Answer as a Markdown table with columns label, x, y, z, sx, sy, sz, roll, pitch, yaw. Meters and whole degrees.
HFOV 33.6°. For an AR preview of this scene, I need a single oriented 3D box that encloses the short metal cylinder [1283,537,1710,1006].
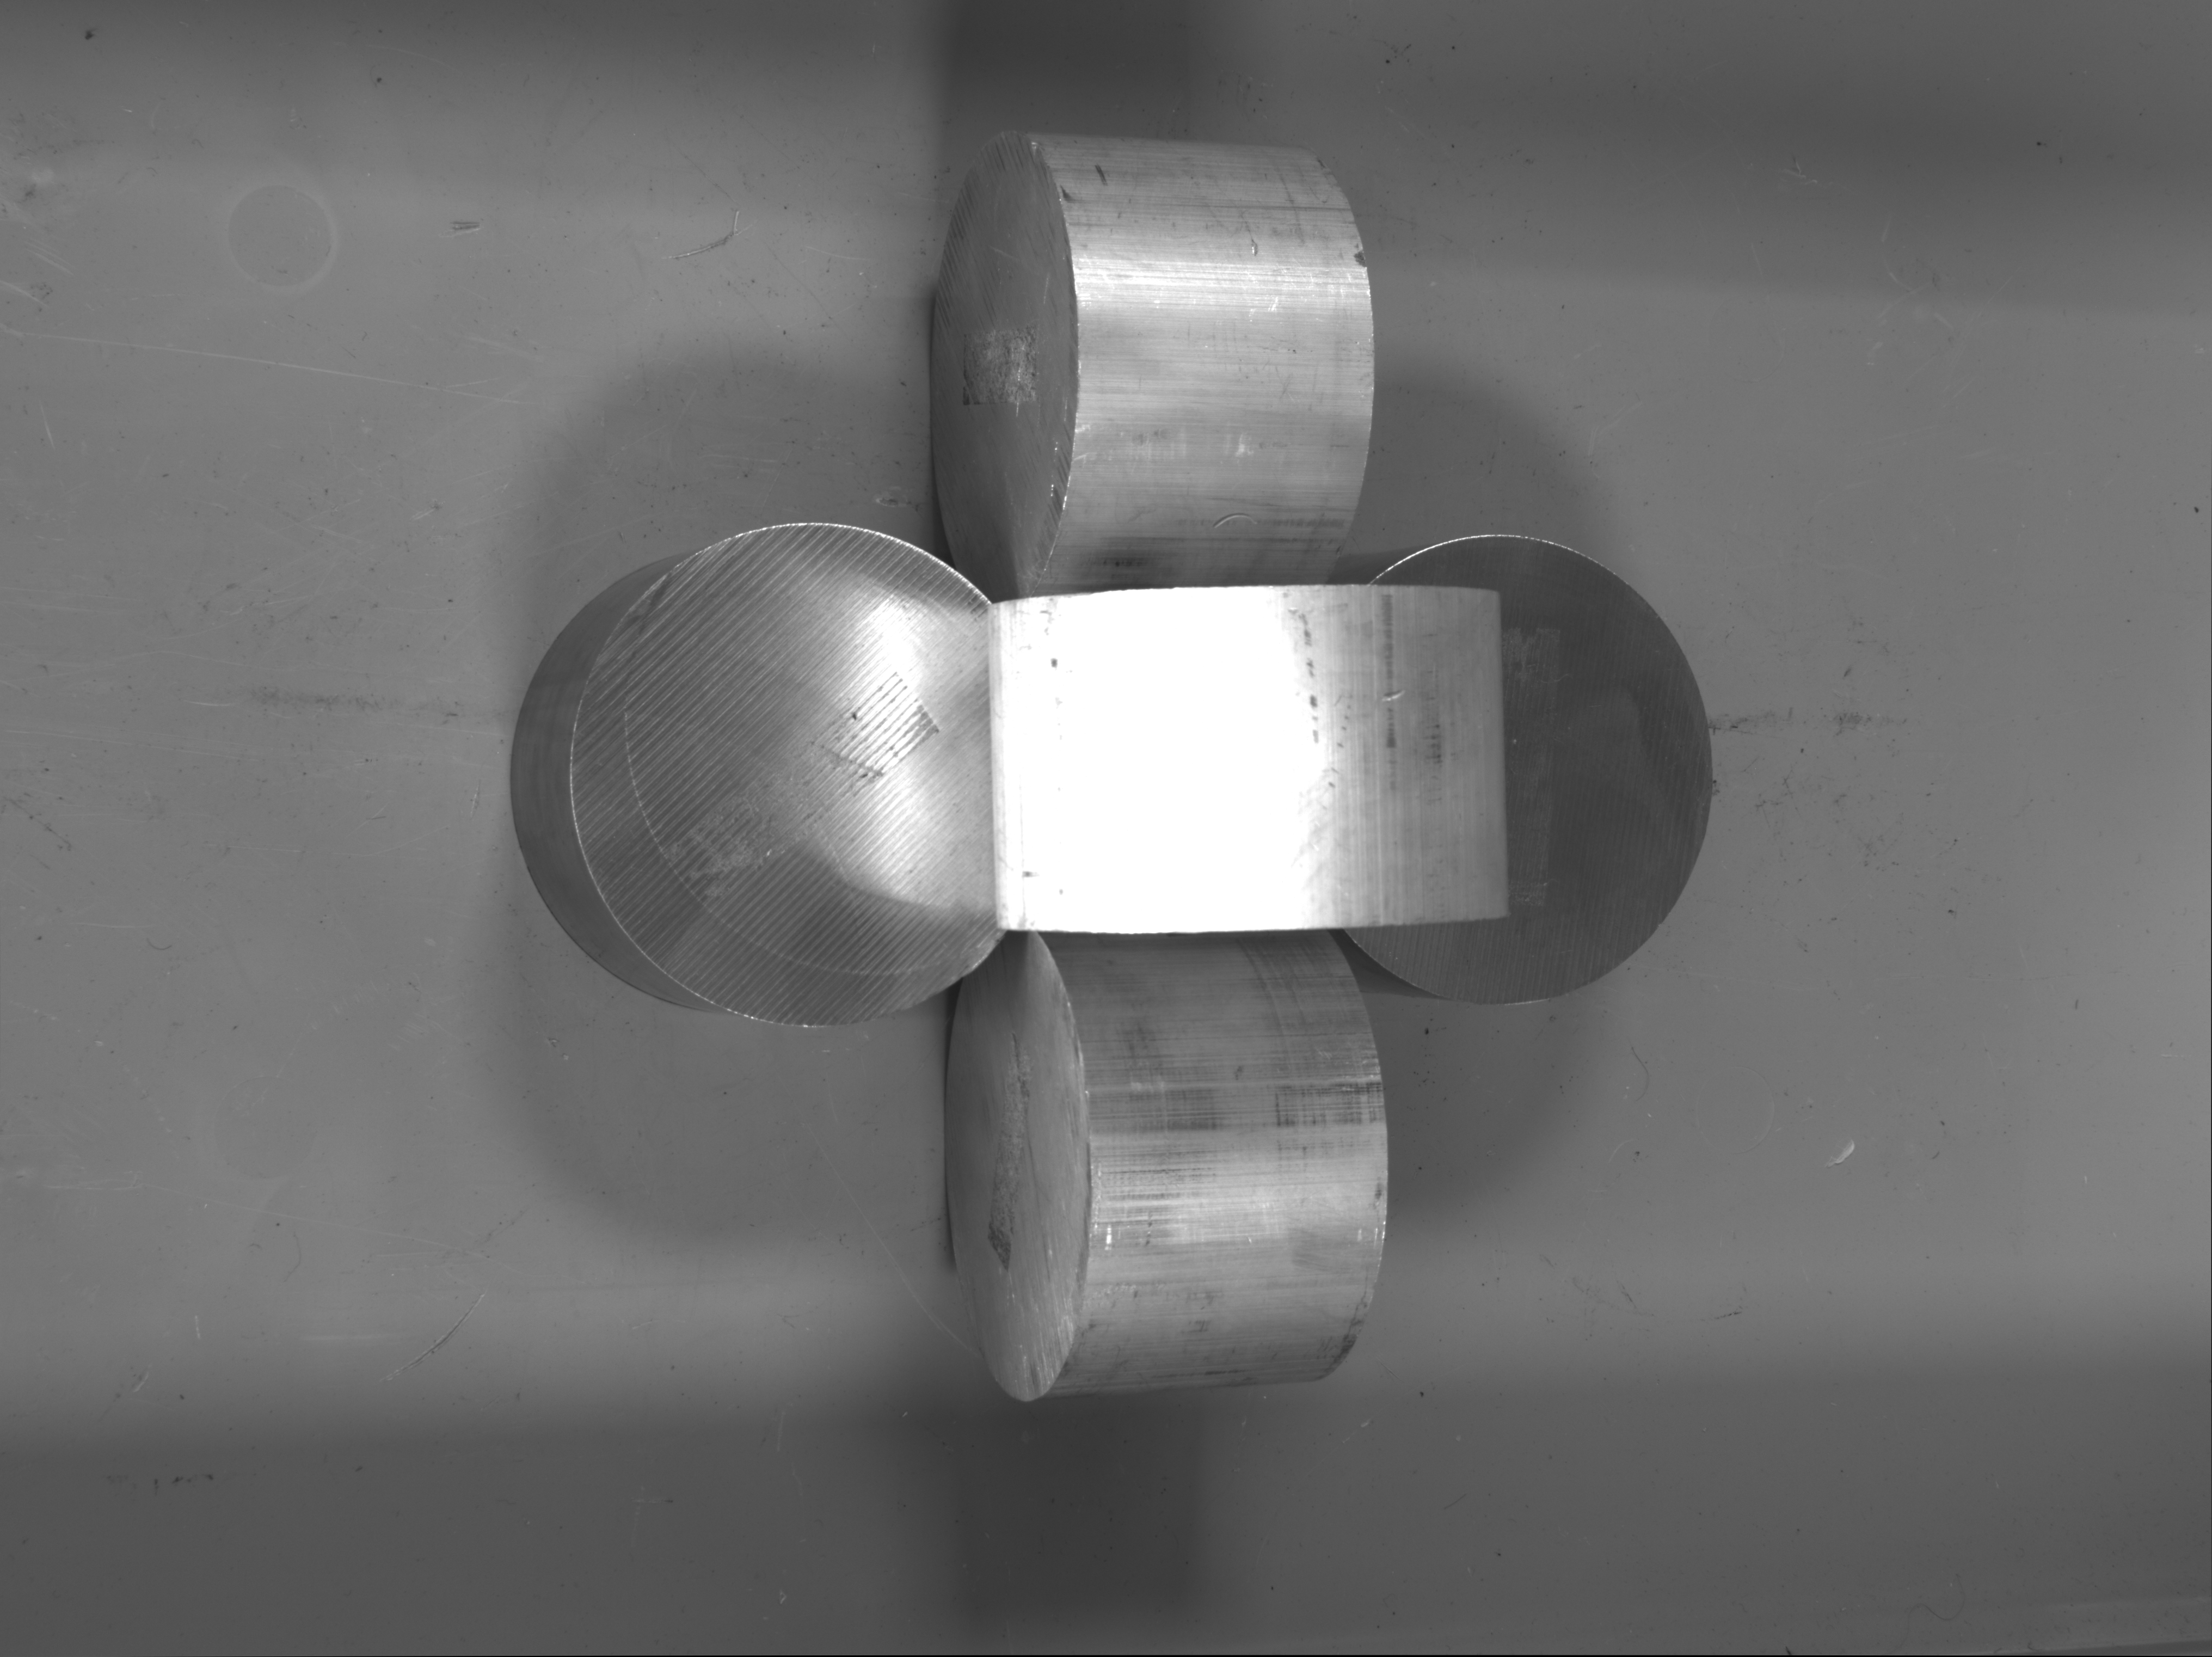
| label | x | y | z | sx | sy | sz | roll | pitch | yaw |
| --- | --- | --- | --- | --- | --- | --- | --- | --- | --- |
| short metal cylinder | 0.059 | -0.010 | 0.649 | 0.080 | 0.050 | 0.080 | 0 | 90 | -20 |

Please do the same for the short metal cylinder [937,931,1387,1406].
| label | x | y | z | sx | sy | sz | roll | pitch | yaw |
| --- | --- | --- | --- | --- | --- | --- | --- | --- | --- |
| short metal cylinder | 0.008 | 0.054 | 0.615 | 0.050 | 0.080 | 0.080 | -2 | 91 | -20 |

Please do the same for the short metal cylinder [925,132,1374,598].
| label | x | y | z | sx | sy | sz | roll | pitch | yaw |
| --- | --- | --- | --- | --- | --- | --- | --- | --- | --- |
| short metal cylinder | 0.006 | -0.075 | 0.614 | 0.050 | 0.080 | 0.080 | -2 | 91 | -20 |

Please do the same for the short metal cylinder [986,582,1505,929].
| label | x | y | z | sx | sy | sz | roll | pitch | yaw |
| --- | --- | --- | --- | --- | --- | --- | --- | --- | --- |
| short metal cylinder | 0.022 | -0.011 | 0.573 | 0.080 | 0.080 | 0.050 | -1 | 90 | -20 |

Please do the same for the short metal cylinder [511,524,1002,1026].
| label | x | y | z | sx | sy | sz | roll | pitch | yaw |
| --- | --- | --- | --- | --- | --- | --- | --- | --- | --- |
| short metal cylinder | -0.054 | -0.008 | 0.608 | 0.080 | 0.050 | 0.080 | 0 | 90 | -20 |
